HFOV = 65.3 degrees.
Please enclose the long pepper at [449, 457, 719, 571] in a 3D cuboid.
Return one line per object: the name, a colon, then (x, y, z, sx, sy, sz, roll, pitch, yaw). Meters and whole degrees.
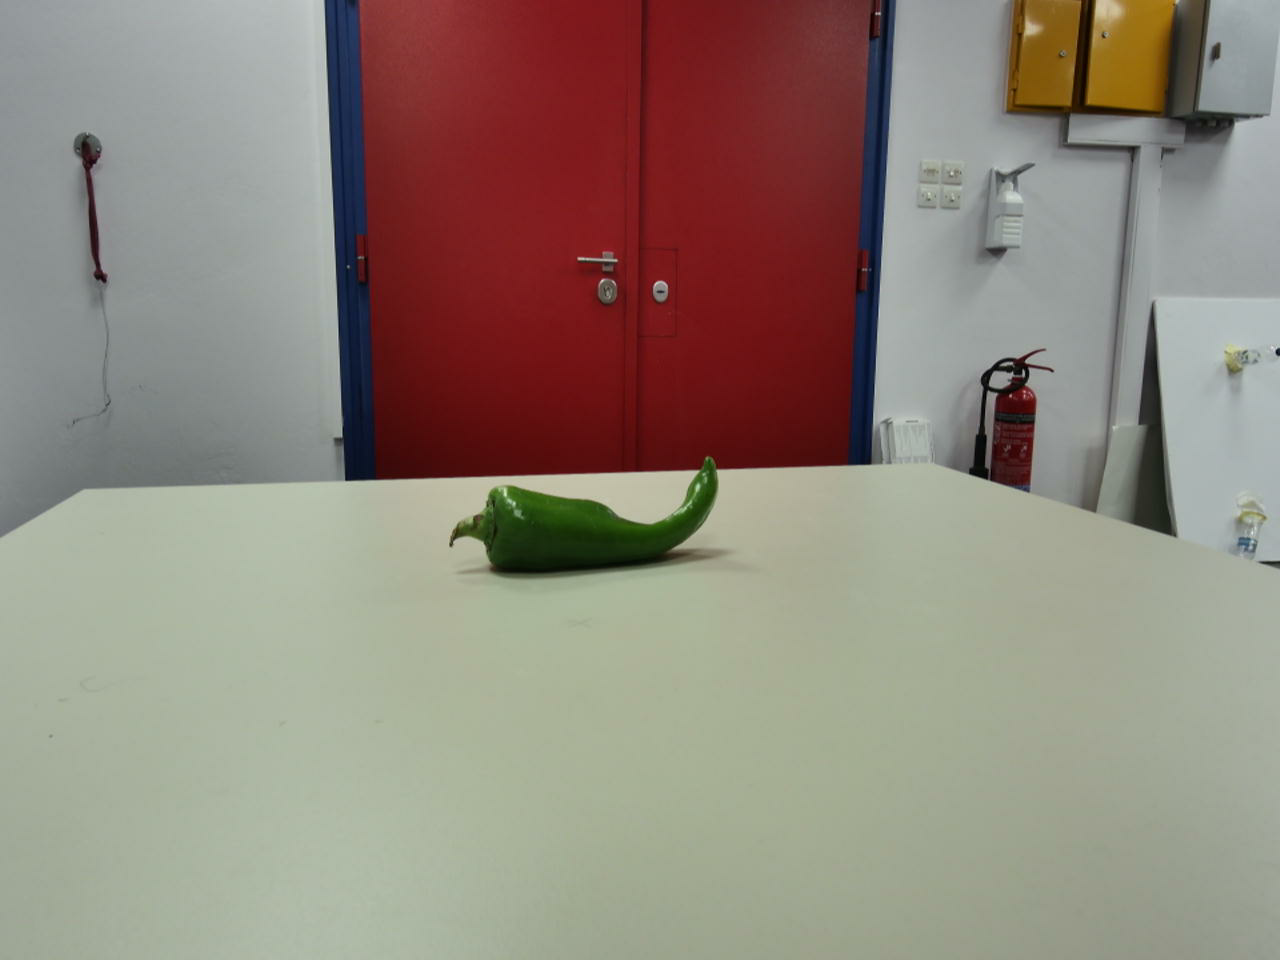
long pepper: (-0.031, 0.021, 0.627, 0.175, 0.065, 0.058, -2, 8, -14)
